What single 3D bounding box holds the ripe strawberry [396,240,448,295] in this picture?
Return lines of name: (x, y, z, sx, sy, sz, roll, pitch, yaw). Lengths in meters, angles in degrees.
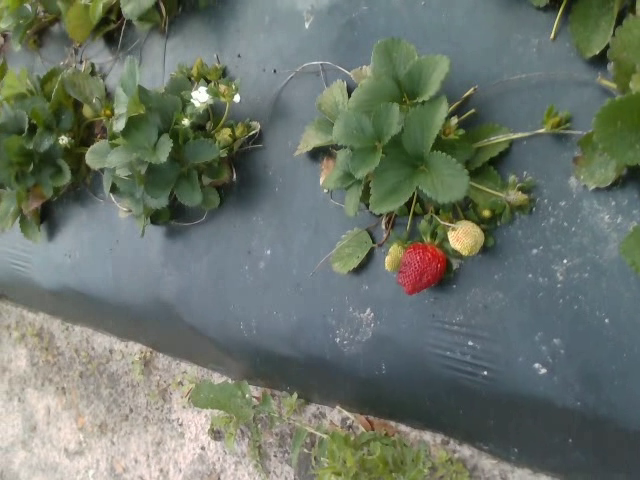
ripe strawberry: (0.094, 0.031, 0.572, 0.046, 0.059, 0.046, 9, -33, 45)
